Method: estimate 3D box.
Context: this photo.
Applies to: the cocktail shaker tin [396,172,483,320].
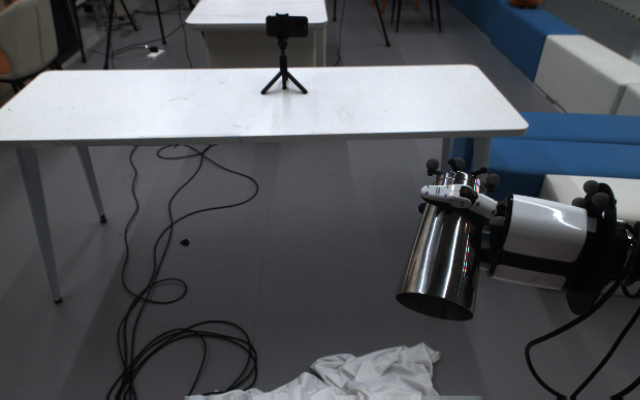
[{"bbox_3d":[0.160,0.049,0.602,0.093,0.093,0.170,13,65,15],"label":"cocktail shaker tin"}]
